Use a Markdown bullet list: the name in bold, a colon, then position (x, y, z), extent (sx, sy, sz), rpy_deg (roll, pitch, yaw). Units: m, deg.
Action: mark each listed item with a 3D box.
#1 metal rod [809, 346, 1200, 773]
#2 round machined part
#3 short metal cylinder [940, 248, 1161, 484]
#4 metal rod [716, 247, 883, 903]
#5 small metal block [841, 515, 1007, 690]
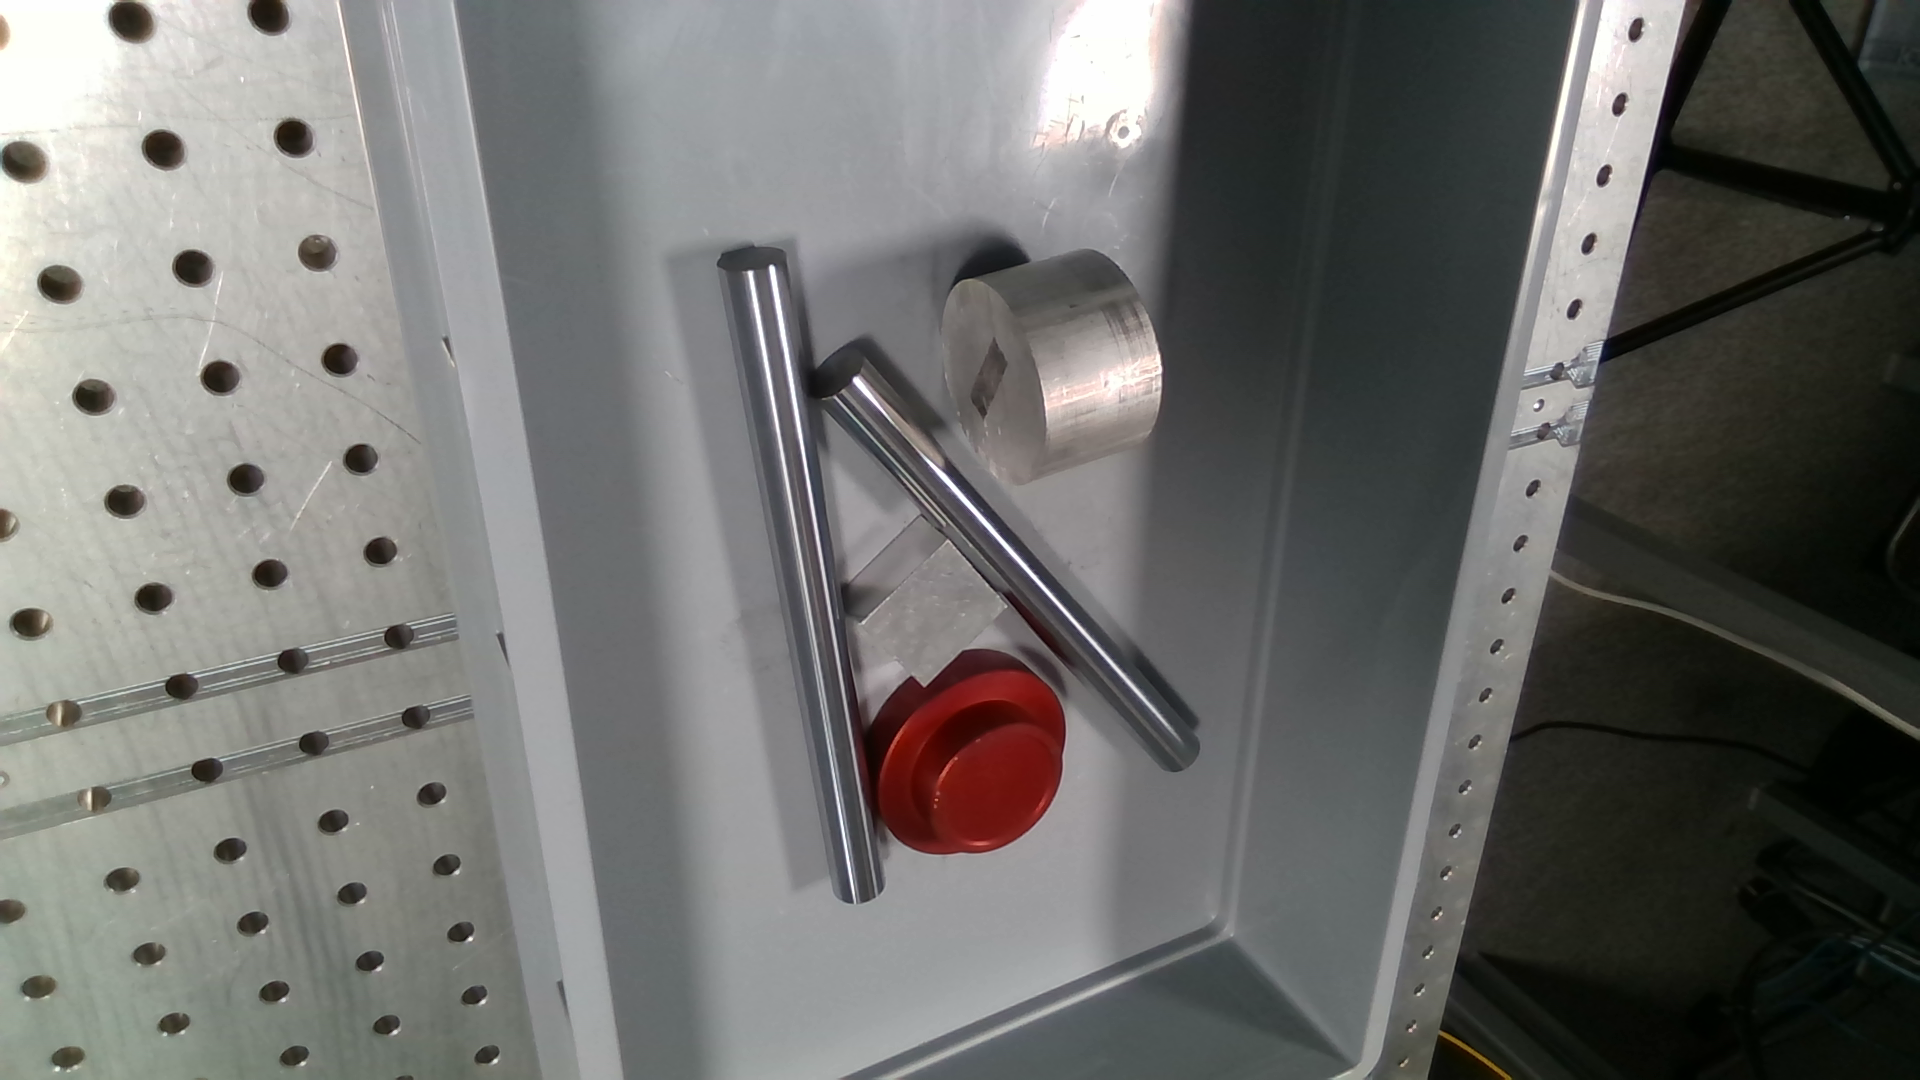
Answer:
- **metal rod**: position (0.033, 0.023, 0.611), extent (0.025, 0.025, 0.301), rpy_deg (-45, 129, -3)
- **round machined part**: position (0.008, 0.103, 0.627), extent (0.098, 0.042, 0.098), rpy_deg (-14, 122, -25)
- **short metal cylinder**: position (0.033, -0.067, 0.529), extent (0.050, 0.080, 0.080), rpy_deg (-19, 123, -22)
- **metal rod**: position (-0.060, 0.030, 0.559), extent (0.025, 0.025, 0.301), rpy_deg (-19, 124, -22)
- **small metal block**: position (-0.016, 0.027, 0.583), extent (0.050, 0.025, 0.050), rpy_deg (-44, 129, -4)
